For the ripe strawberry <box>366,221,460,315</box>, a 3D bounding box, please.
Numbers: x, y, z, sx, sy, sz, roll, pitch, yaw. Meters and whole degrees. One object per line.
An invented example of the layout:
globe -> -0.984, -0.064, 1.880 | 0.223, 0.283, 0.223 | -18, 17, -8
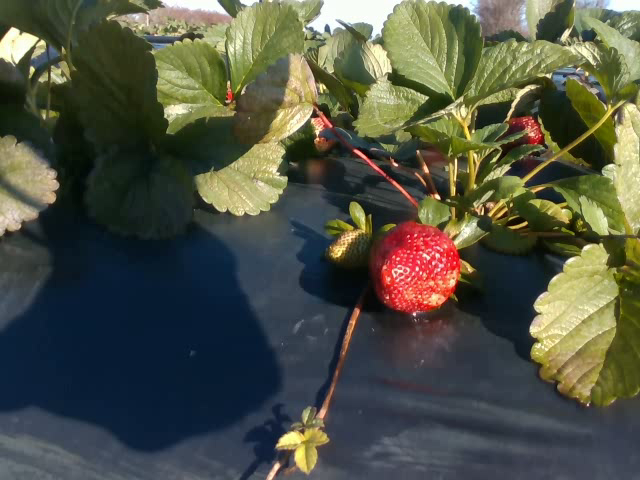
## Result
ripe strawberry -> 0.034, 0.012, 0.234 | 0.041, 0.043, 0.053 | 21, 13, 18
